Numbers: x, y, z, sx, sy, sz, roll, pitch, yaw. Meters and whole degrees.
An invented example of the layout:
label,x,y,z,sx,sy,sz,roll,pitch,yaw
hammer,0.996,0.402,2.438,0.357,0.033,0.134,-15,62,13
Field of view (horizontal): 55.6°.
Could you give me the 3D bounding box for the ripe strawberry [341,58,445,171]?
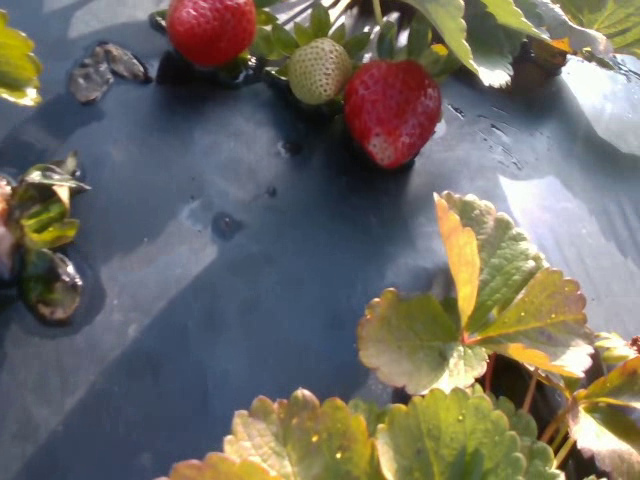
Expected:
label,x,y,z,sx,sy,sz,roll,pitch,yaw
ripe strawberry,0.031,-0.055,0.272,0.048,0.065,0.050,-6,-34,29
